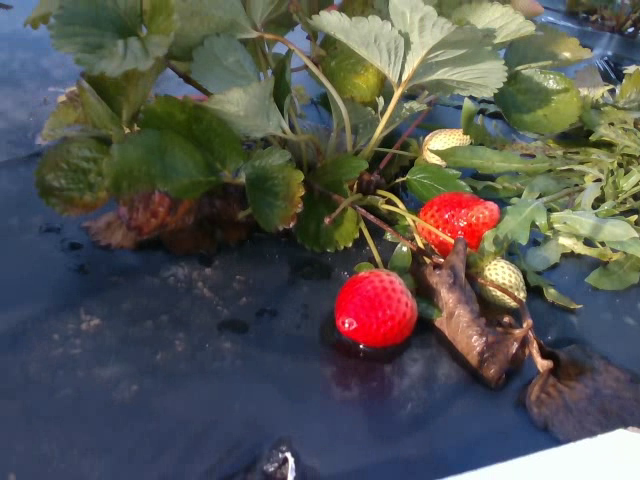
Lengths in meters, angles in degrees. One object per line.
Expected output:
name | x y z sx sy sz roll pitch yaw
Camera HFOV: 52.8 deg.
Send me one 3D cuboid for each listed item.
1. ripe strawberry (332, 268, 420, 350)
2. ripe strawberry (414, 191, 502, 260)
ripe strawberry | 0.018 0.026 0.239 0.035 0.030 0.043 19 30 27
ripe strawberry | 0.069 -0.013 0.303 0.039 0.032 0.048 -18 -8 -30
